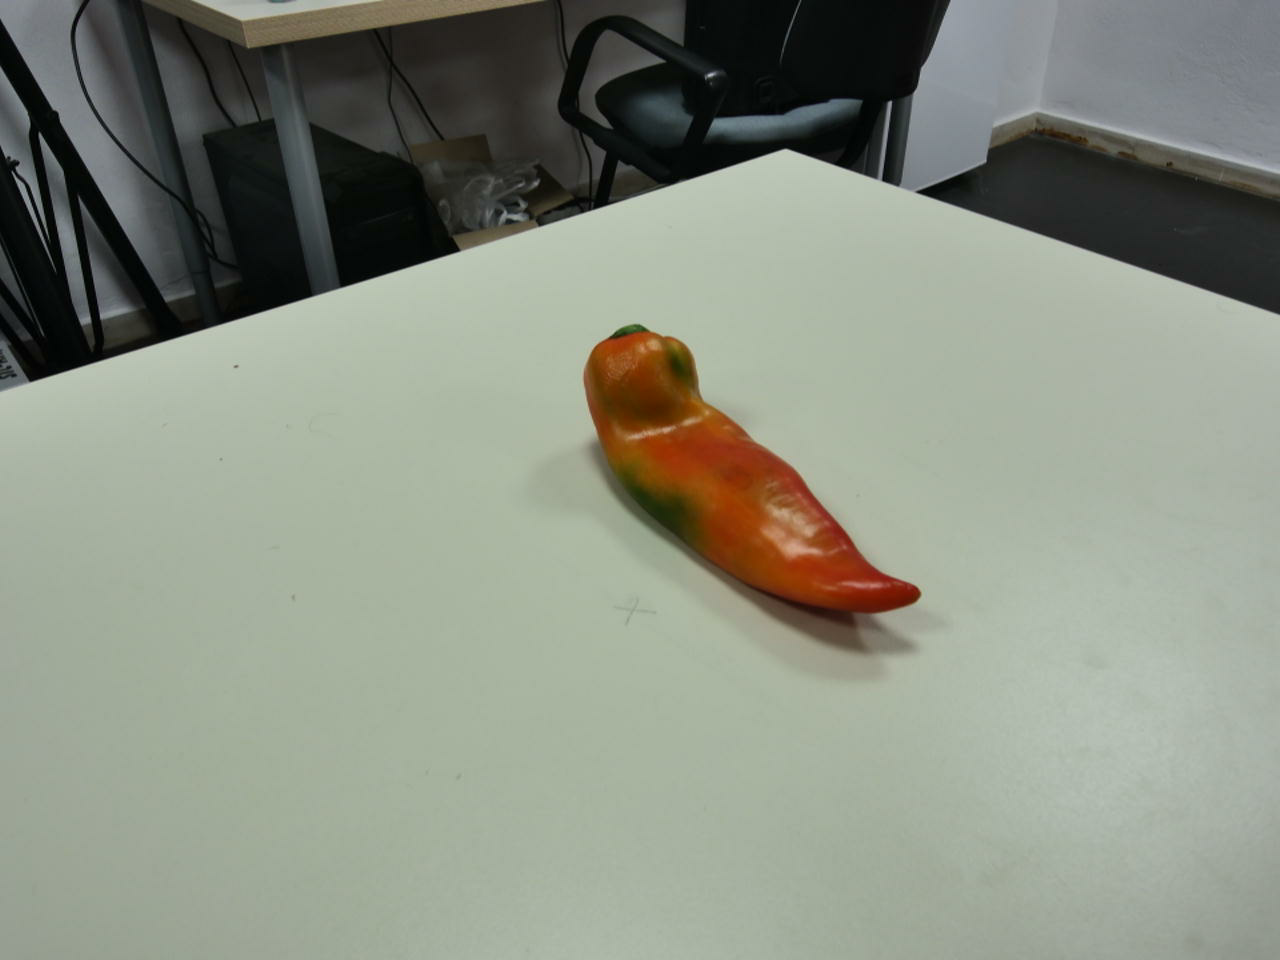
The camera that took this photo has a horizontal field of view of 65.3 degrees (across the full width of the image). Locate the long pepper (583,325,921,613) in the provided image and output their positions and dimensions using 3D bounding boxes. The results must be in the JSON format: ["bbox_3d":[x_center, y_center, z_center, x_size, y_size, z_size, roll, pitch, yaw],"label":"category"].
[{"bbox_3d":[0.040,-0.007,0.430,0.066,0.065,0.199,-20,39,-25],"label":"long pepper"}]
